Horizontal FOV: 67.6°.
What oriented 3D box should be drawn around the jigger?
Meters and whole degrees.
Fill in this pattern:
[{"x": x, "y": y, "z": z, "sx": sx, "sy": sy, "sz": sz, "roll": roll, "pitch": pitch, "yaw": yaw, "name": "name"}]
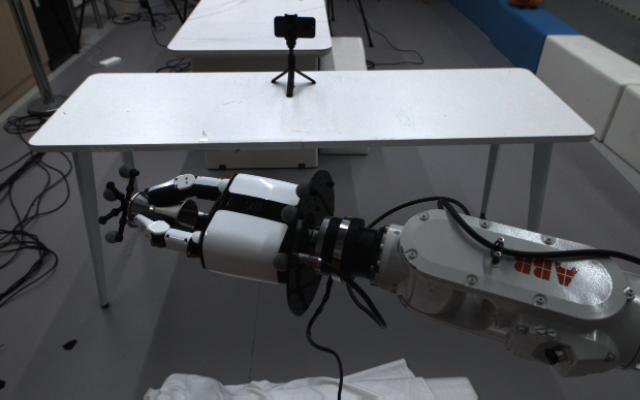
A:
[{"x": -0.181, "y": 0.013, "z": 0.570, "sx": 0.071, "sy": 0.043, "sz": 0.043, "roll": 11, "pitch": 36, "yaw": 15, "name": "jigger"}]
